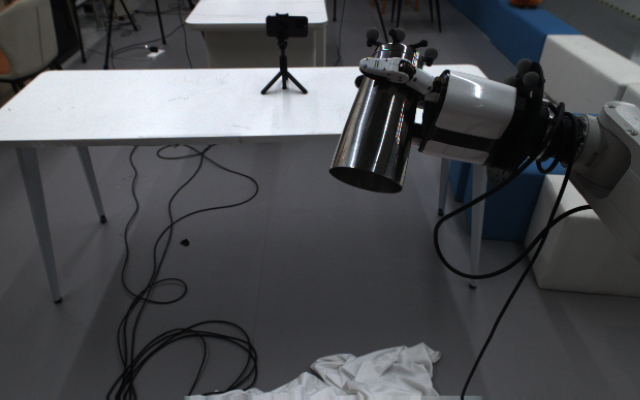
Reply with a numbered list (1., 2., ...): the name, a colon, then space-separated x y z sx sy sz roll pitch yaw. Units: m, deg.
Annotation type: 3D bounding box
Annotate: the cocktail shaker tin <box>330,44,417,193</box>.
1. cocktail shaker tin: 0.081 -0.106 0.605 0.093 0.093 0.170 13 79 15
